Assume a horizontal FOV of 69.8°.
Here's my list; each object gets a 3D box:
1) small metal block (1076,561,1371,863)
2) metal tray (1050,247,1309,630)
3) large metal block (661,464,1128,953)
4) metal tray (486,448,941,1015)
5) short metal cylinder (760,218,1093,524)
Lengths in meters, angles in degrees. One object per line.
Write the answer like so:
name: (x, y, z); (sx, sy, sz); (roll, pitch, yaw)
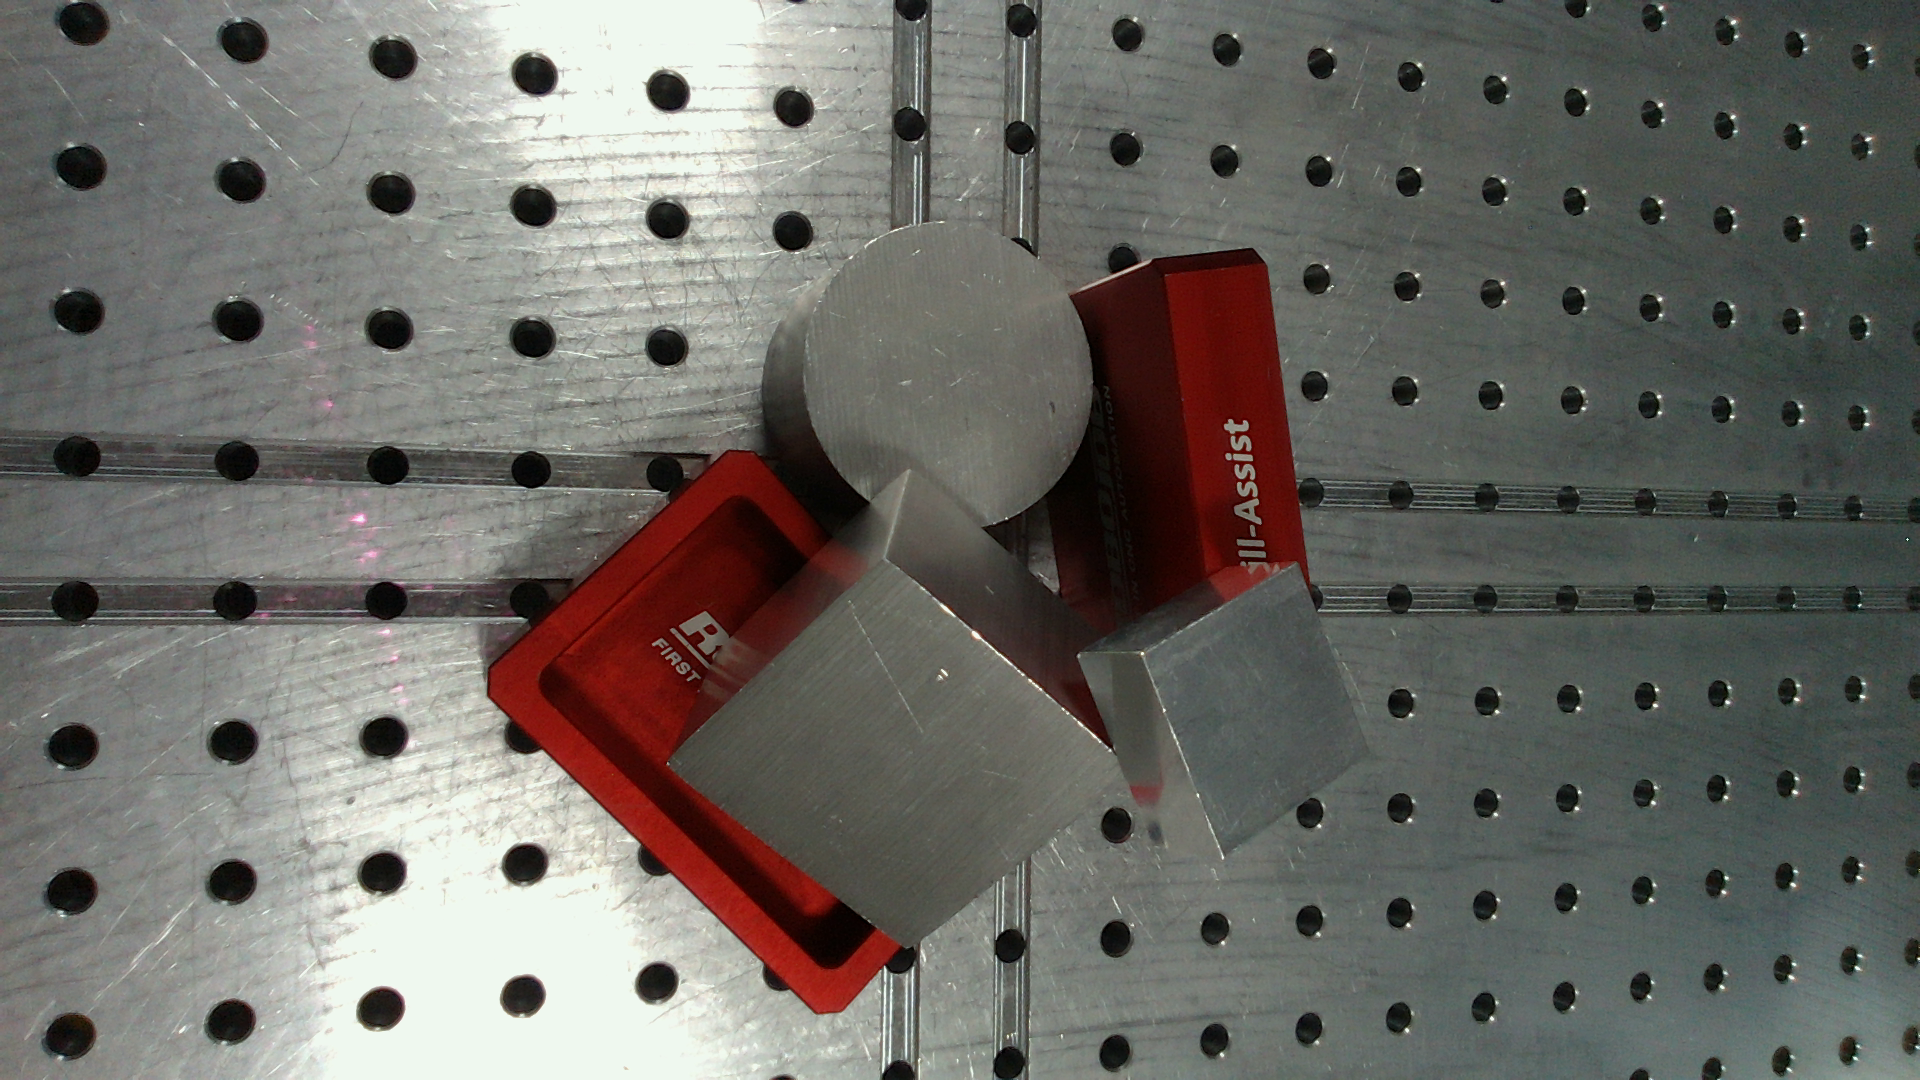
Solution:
small metal block: (0.062, 0.038, 0.318); (0.050, 0.025, 0.050); (-27, 100, -29)
metal tray: (0.057, -0.007, 0.382); (0.030, 0.090, 0.130); (-10, 93, -19)
large metal block: (-0.013, 0.043, 0.345); (0.080, 0.050, 0.080); (41, 113, -16)
metal tray: (-0.051, 0.051, 0.374); (0.090, 0.030, 0.130); (-45, 104, -14)
short metal cylinder: (-0.010, -0.043, 0.379); (0.080, 0.050, 0.080); (0, 90, -20)
